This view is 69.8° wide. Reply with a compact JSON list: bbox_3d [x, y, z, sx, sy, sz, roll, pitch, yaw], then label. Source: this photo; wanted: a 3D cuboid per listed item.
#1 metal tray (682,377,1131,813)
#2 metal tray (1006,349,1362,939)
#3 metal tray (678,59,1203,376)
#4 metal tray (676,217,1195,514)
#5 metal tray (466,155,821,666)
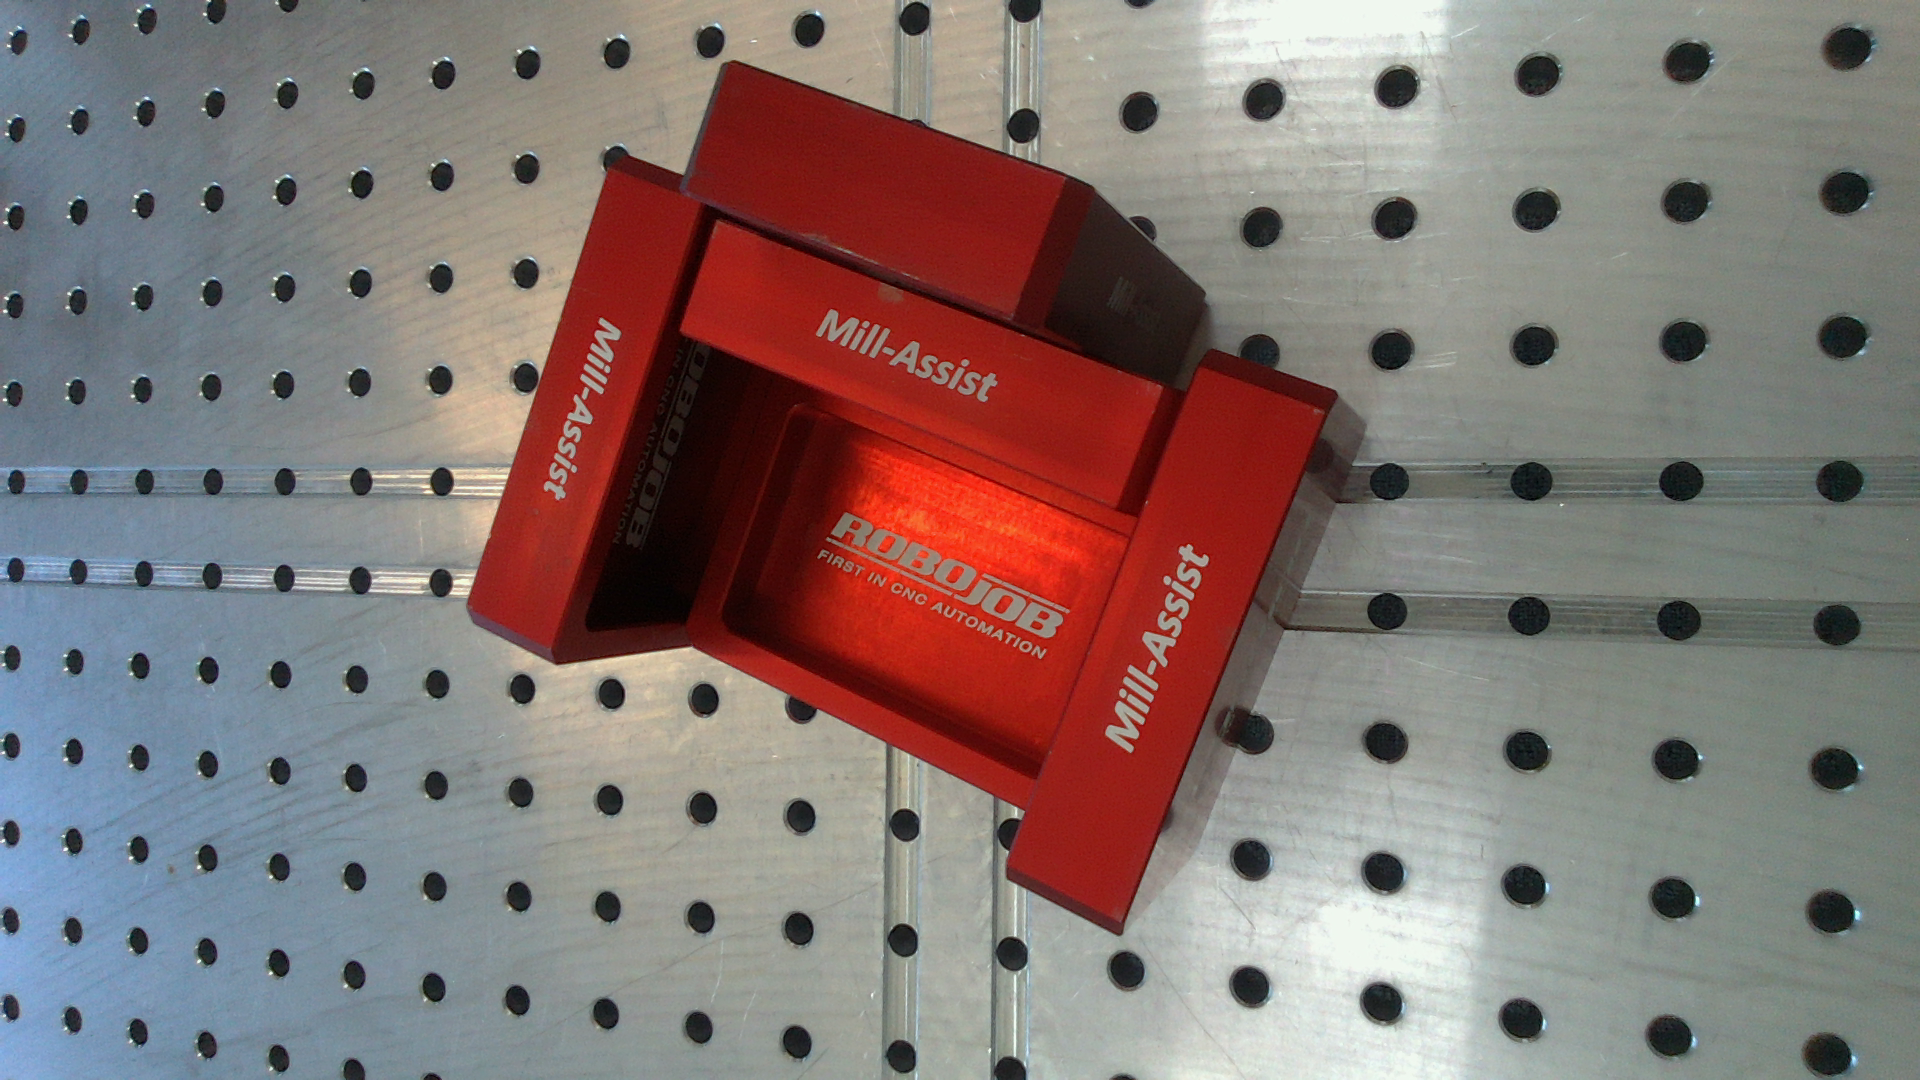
[{"bbox_3d":[-0.007,0.013,0.398,0.130,0.030,0.090,23,98,18],"label":"metal tray"},{"bbox_3d":[0.059,0.024,0.342,0.030,0.090,0.130,23,98,19],"label":"metal tray"},{"bbox_3d":[0.003,-0.073,0.340,0.090,0.130,0.030,24,98,18],"label":"metal tray"},{"bbox_3d":[0.003,-0.044,0.362,0.130,0.090,0.030,23,98,18],"label":"metal tray"},{"bbox_3d":[-0.082,-0.033,0.393,0.030,0.090,0.130,23,98,18],"label":"metal tray"}]
